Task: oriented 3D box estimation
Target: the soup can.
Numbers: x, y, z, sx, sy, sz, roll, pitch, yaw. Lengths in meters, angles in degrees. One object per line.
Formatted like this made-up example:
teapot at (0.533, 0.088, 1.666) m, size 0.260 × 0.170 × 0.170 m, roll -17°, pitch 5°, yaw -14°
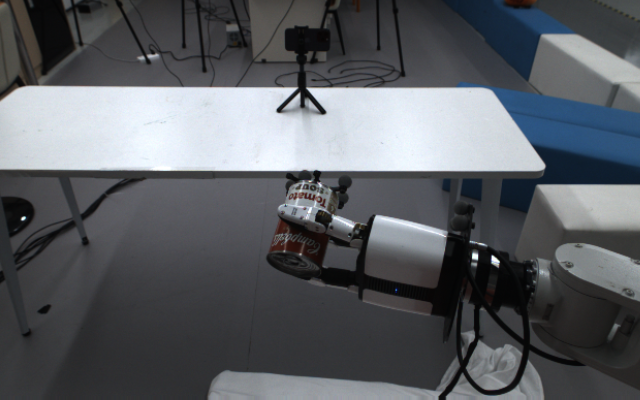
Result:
soup can at (-0.017, 0.034, 0.593) m, size 0.067 × 0.067 × 0.101 m, roll 9°, pitch 61°, yaw 10°
